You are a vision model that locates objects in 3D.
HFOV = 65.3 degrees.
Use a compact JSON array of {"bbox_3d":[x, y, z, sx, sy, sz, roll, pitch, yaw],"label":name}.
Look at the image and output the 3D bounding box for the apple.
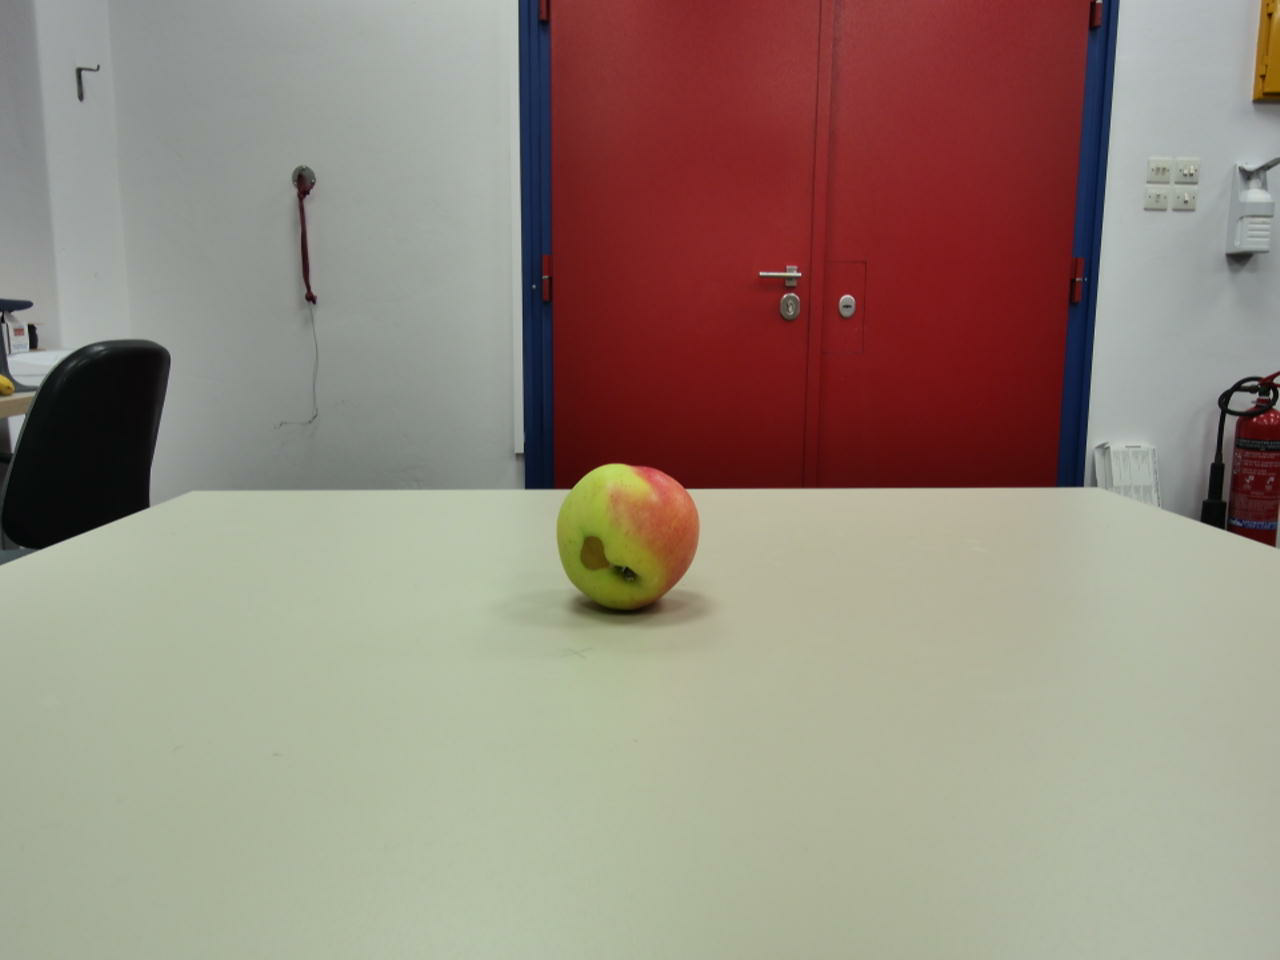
[{"bbox_3d":[-0.005,0.029,0.523,0.075,0.074,0.075,-2,7,-20],"label":"apple"}]
